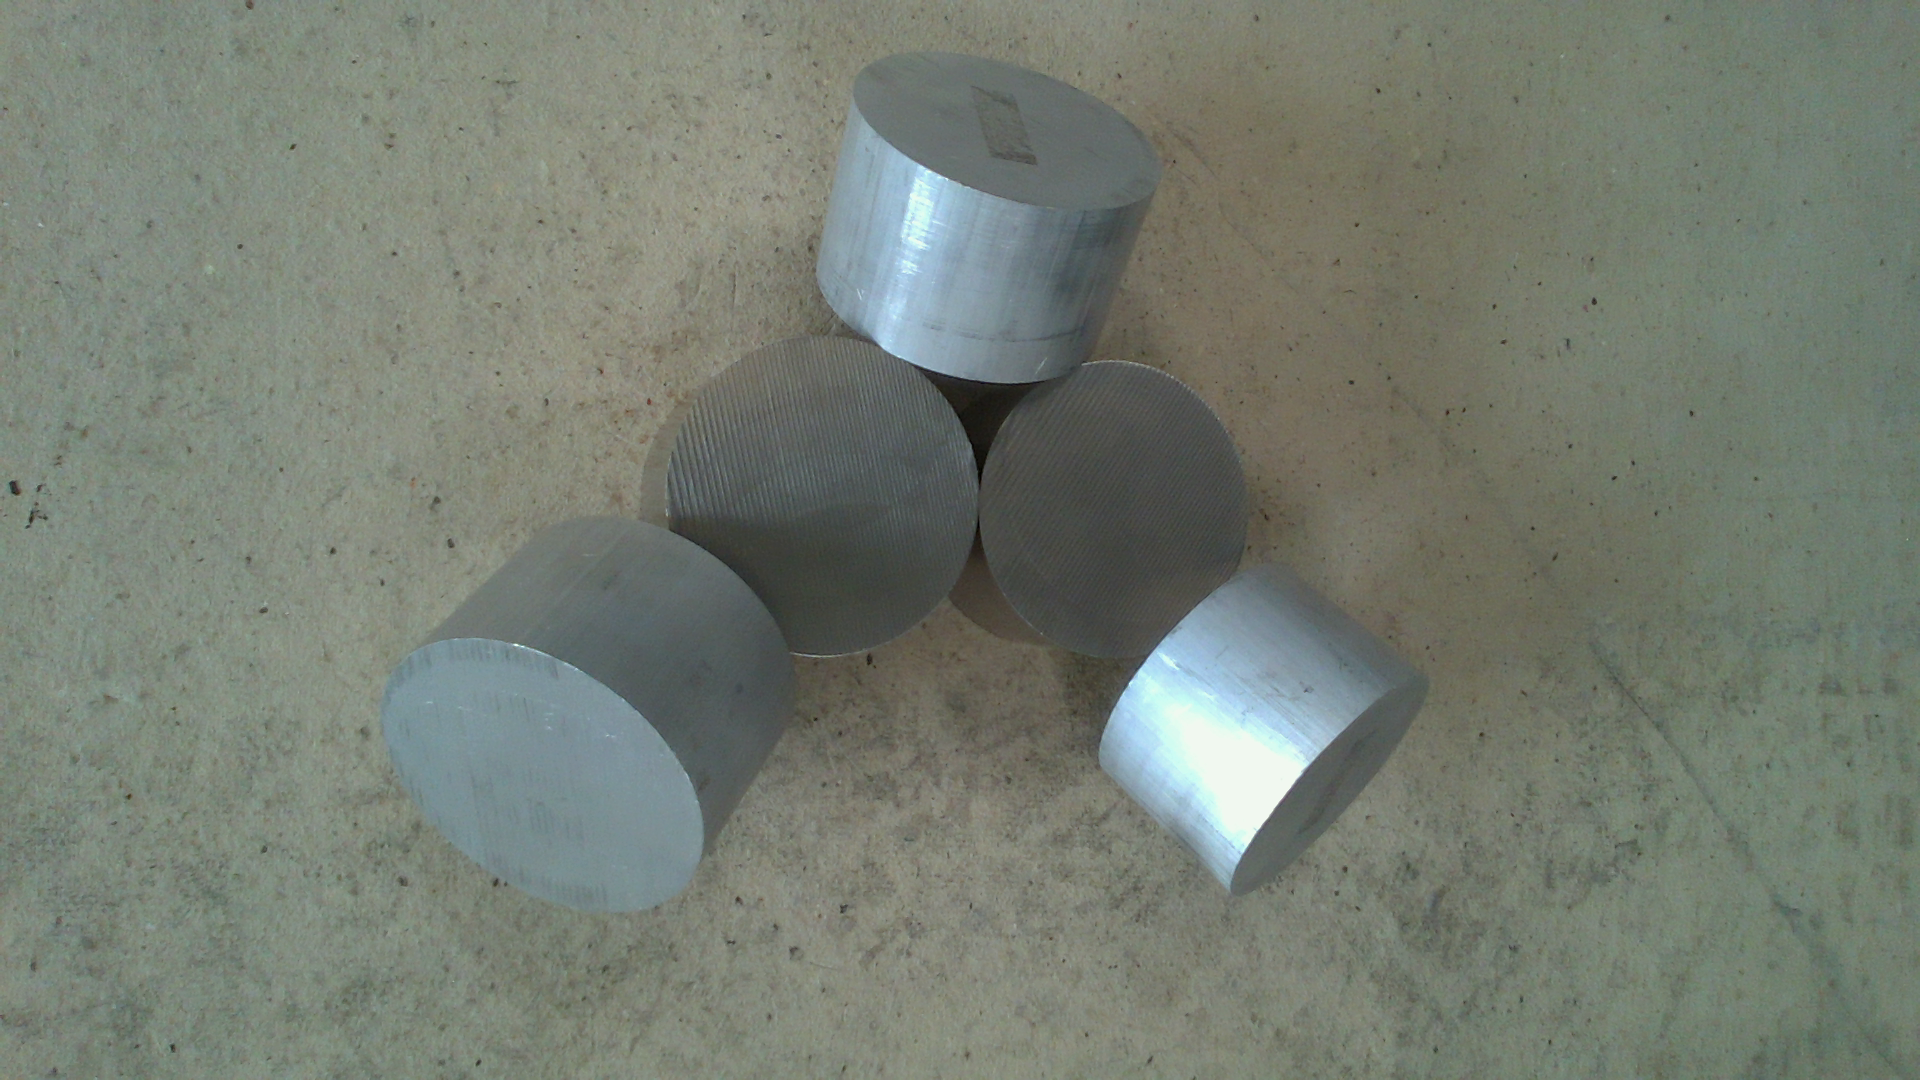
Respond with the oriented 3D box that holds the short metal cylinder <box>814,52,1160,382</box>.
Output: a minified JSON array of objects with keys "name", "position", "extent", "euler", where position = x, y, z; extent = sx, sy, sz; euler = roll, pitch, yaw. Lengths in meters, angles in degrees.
[{"name":"short metal cylinder","position":[0.006,-0.086,0.360],"extent":[0.080,0.080,0.050],"euler":[2,132,-20]}]

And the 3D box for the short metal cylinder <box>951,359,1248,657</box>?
[{"name":"short metal cylinder","position":[0.034,-0.008,0.393],"extent":[0.080,0.050,0.080],"euler":[0,90,-20]}]

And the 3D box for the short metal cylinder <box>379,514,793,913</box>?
[{"name":"short metal cylinder","position":[-0.087,0.041,0.326],"extent":[0.080,0.080,0.050],"euler":[48,35,-14]}]

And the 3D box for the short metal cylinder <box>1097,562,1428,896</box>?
[{"name":"short metal cylinder","position":[0.085,0.053,0.389],"extent":[0.080,0.080,0.050],"euler":[-39,61,-16]}]

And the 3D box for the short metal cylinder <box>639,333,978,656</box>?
[{"name":"short metal cylinder","position":[-0.041,-0.011,0.365],"extent":[0.080,0.050,0.080],"euler":[0,90,-20]}]
